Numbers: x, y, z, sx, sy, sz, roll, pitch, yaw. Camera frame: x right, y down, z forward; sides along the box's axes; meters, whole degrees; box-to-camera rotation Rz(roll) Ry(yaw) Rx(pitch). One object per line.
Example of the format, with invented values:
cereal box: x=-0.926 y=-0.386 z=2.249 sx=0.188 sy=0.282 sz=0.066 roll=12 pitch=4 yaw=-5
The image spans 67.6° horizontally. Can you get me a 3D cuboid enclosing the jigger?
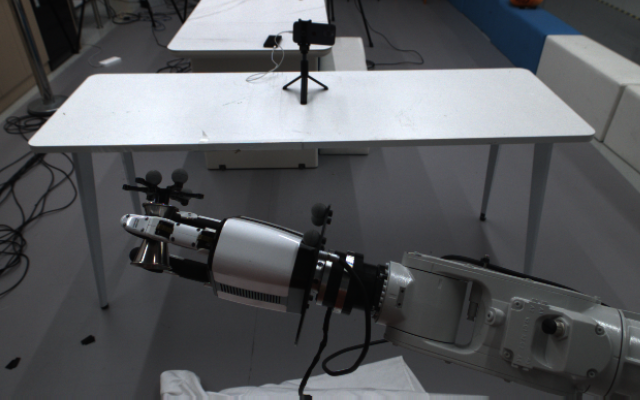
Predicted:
jigger: x=-0.181 y=0.040 z=0.538 sx=0.043 sy=0.043 sz=0.071 roll=4 pitch=75 yaw=2
